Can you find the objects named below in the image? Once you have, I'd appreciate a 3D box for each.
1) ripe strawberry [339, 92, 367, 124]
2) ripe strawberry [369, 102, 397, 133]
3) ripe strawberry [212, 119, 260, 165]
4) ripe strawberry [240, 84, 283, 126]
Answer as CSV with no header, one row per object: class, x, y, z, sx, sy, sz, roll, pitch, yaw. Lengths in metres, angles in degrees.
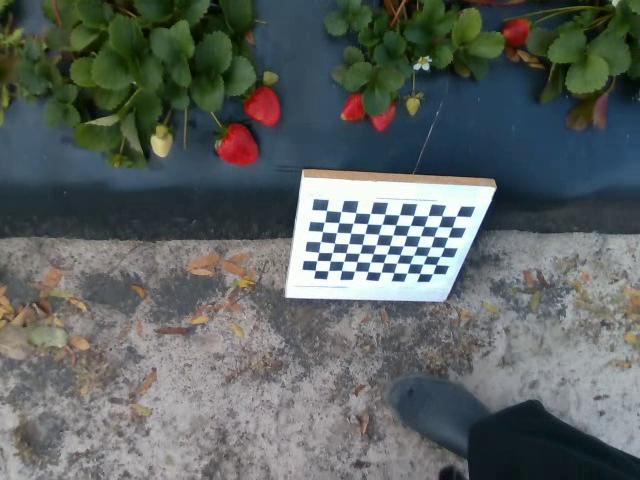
ripe strawberry,0.046,-0.182,0.924,0.038,0.053,0.047,45,-14,35
ripe strawberry,0.088,-0.169,0.924,0.043,0.049,0.041,0,-14,-4
ripe strawberry,-0.113,-0.129,0.932,0.065,0.044,0.058,37,-48,-16
ripe strawberry,-0.077,-0.181,0.914,0.051,0.060,0.050,-25,-14,-45
